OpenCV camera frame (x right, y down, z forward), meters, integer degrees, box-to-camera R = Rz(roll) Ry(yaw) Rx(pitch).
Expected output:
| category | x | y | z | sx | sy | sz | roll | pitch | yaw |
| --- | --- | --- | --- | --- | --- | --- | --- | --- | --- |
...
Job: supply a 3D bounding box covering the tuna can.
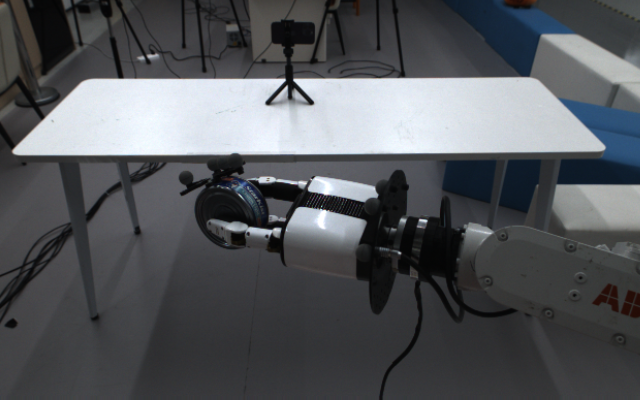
| category | x | y | z | sx | sy | sz | roll | pitch | yaw |
| --- | --- | --- | --- | --- | --- | --- | --- | --- | --- |
| tuna can | -0.103 | 0.022 | 0.581 | 0.085 | 0.085 | 0.034 | 15 | 30 | 17 |
